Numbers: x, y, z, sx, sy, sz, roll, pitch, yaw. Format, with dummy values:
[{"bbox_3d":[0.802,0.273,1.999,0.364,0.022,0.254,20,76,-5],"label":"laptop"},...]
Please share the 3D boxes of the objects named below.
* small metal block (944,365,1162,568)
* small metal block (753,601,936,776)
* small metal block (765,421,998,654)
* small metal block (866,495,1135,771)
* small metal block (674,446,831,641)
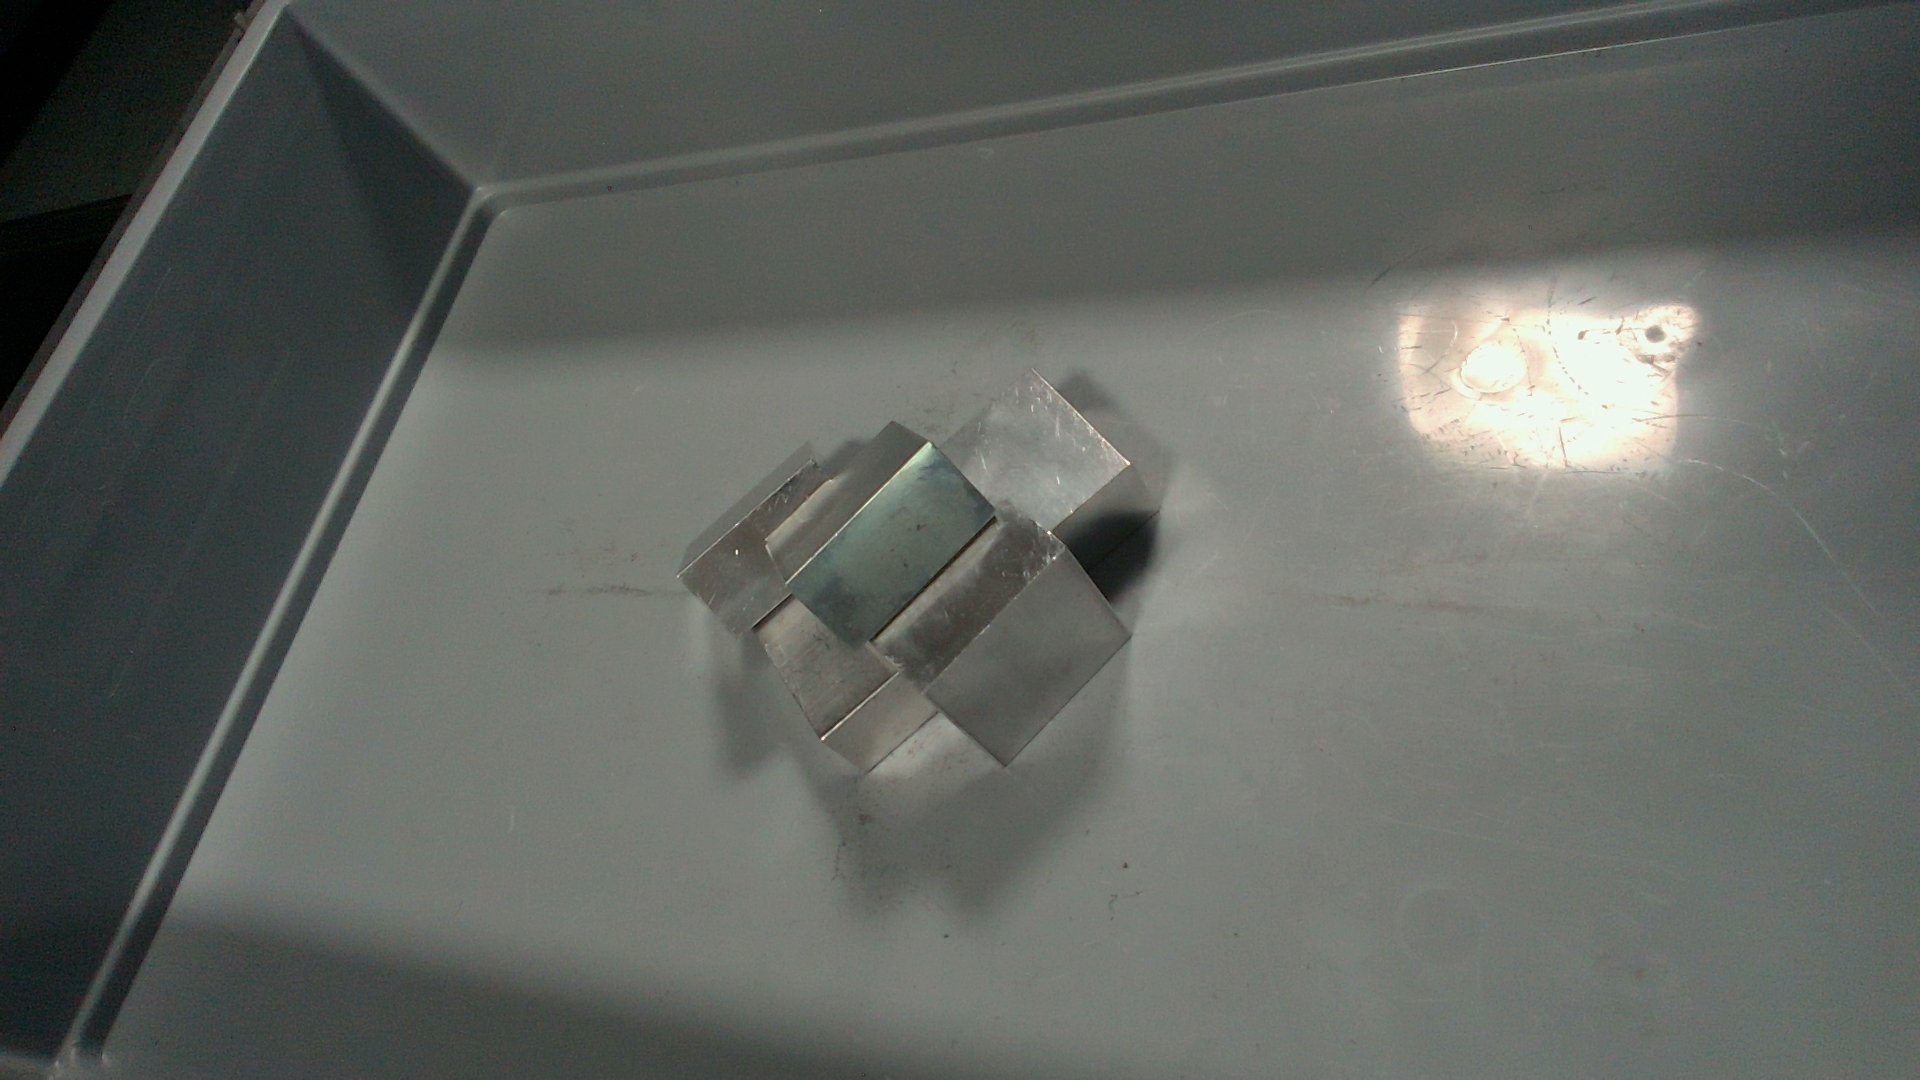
[{"bbox_3d":[0.020,-0.013,0.390,0.050,0.025,0.050,-41,51,1],"label":"small metal block"},{"bbox_3d":[-0.025,0.029,0.388,0.050,0.025,0.050,-41,51,1],"label":"small metal block"},{"bbox_3d":[-0.022,-0.003,0.358,0.050,0.025,0.050,-44,17,-2],"label":"small metal block"},{"bbox_3d":[0.012,0.025,0.354,0.050,0.050,0.025,-46,51,-4],"label":"small metal block"},{"bbox_3d":[-0.055,-0.001,0.407,0.050,0.025,0.050,-41,12,1],"label":"small metal block"}]
